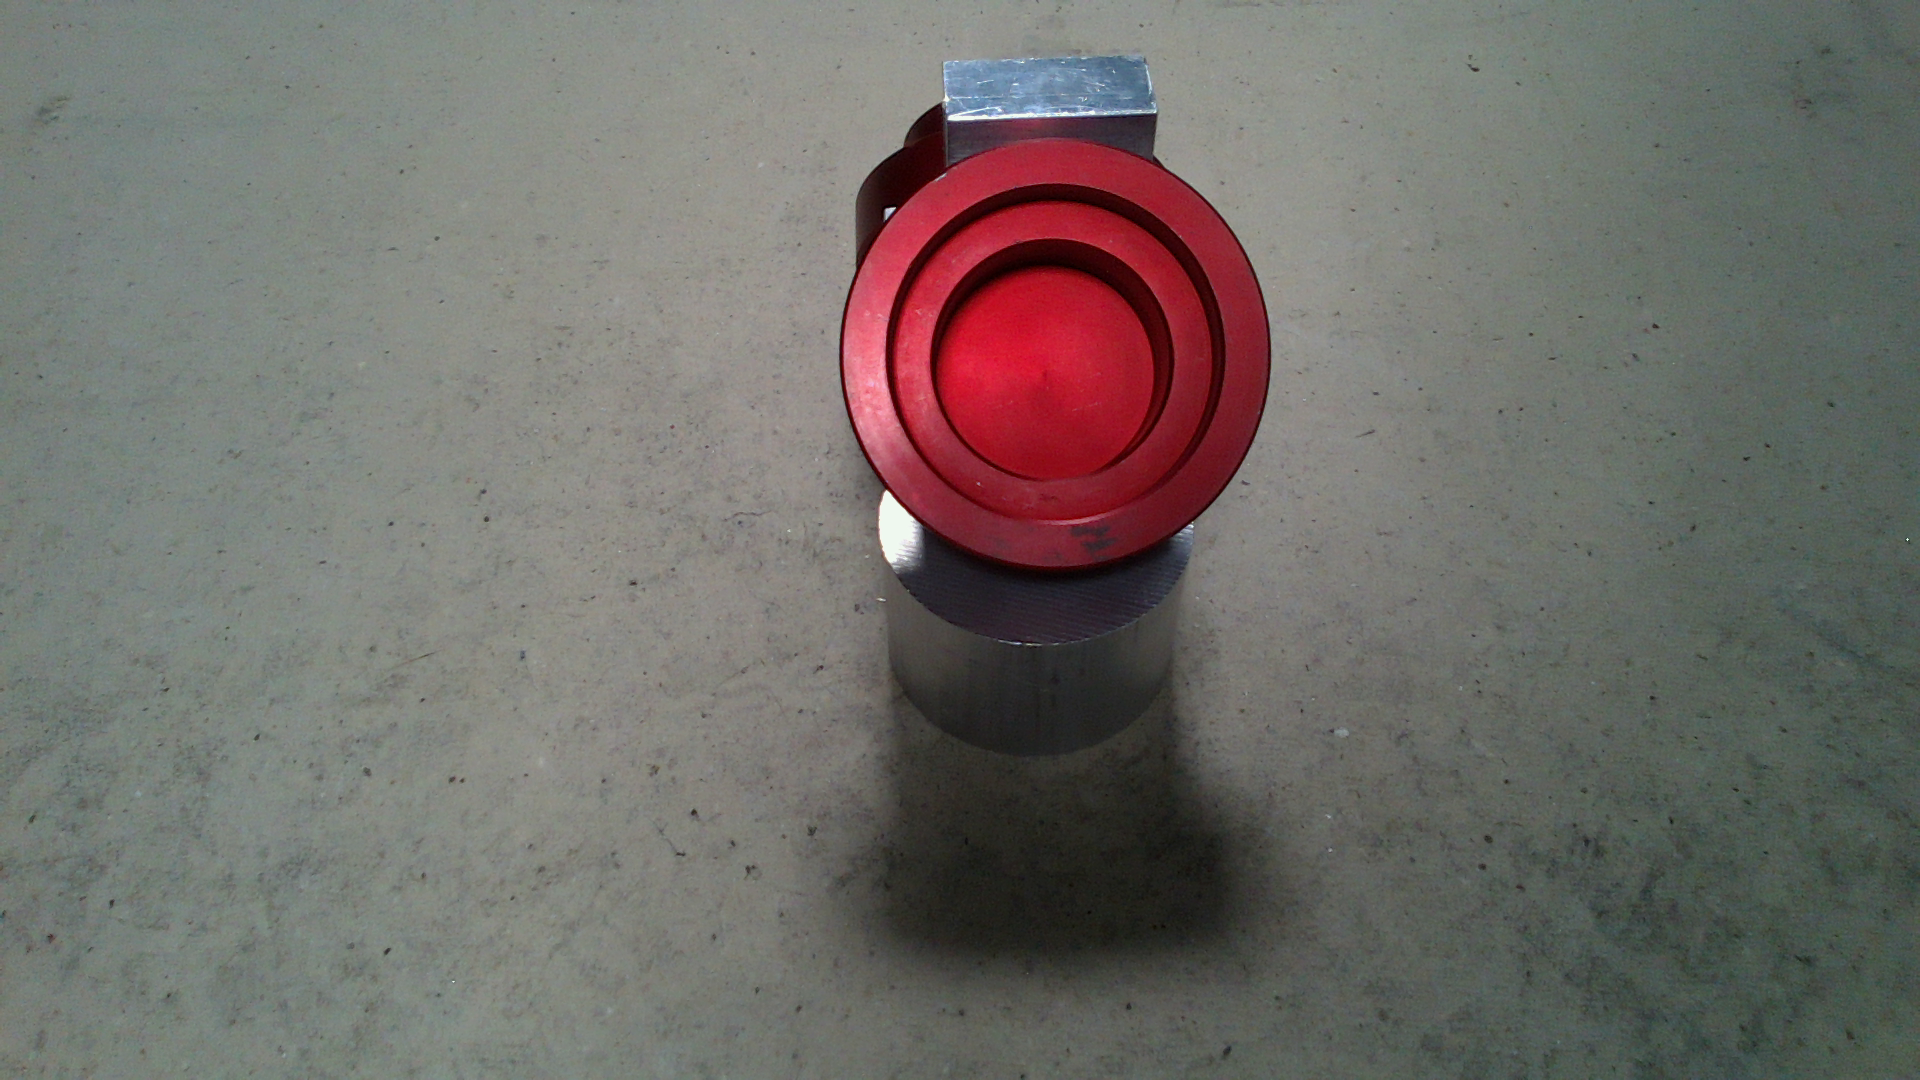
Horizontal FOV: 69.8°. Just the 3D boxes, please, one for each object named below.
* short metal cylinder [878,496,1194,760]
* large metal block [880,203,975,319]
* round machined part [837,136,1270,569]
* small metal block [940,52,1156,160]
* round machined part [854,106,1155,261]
[{"bbox_3d":[0.019,0.011,0.367,0.080,0.050,0.080,0,50,0],"label":"short metal cylinder"},{"bbox_3d":[0.019,-0.050,0.397,0.080,0.080,0.050,-2,50,-1],"label":"large metal block"},{"bbox_3d":[0.021,-0.042,0.330,0.098,0.042,0.098,0,88,-1],"label":"round machined part"},{"bbox_3d":[0.021,-0.093,0.349,0.050,0.050,0.025,-2,49,-2],"label":"small metal block"},{"bbox_3d":[0.016,-0.104,0.426,0.098,0.098,0.042,-2,75,-1],"label":"round machined part"}]
